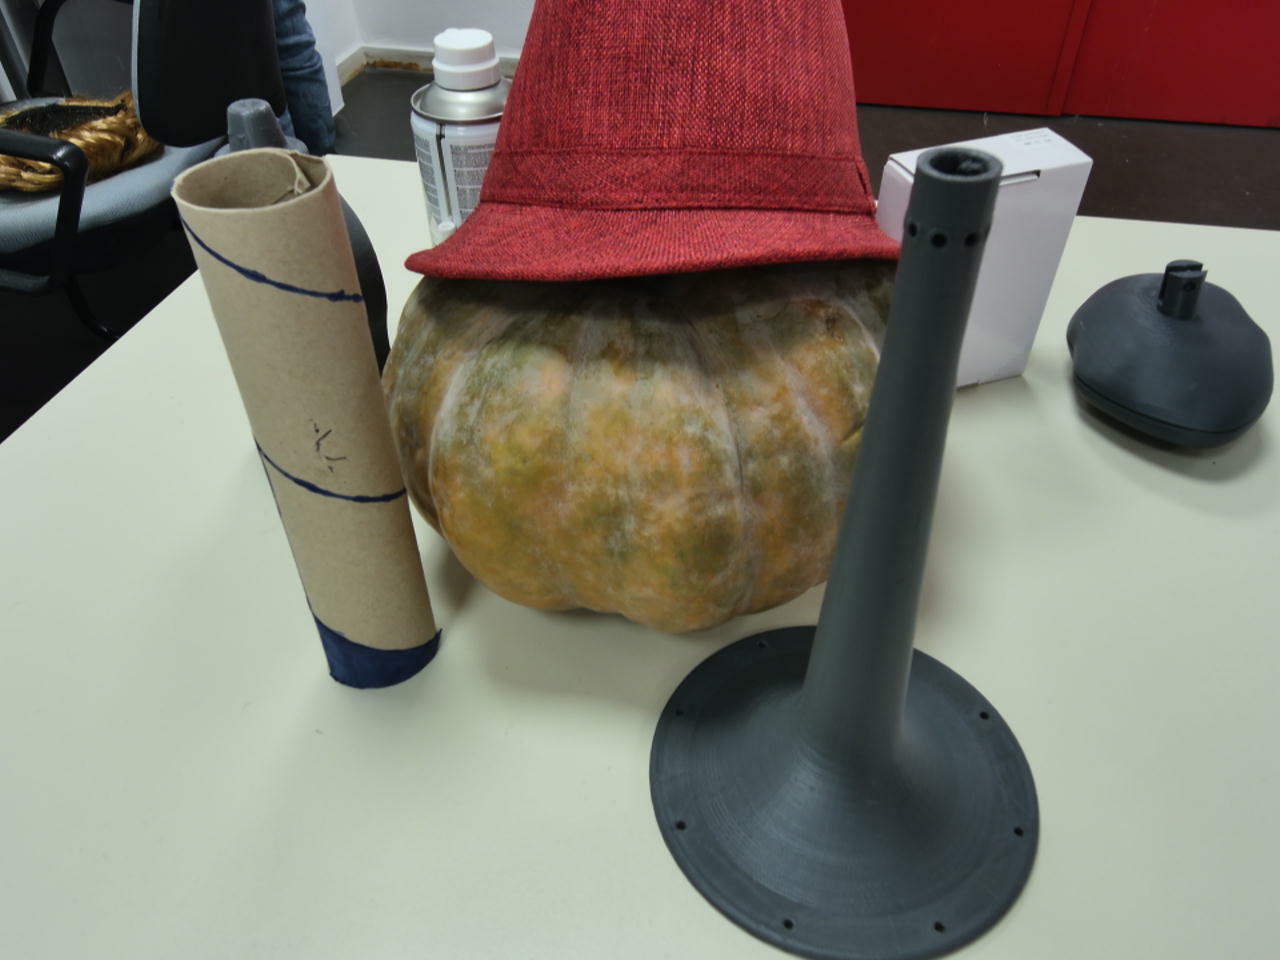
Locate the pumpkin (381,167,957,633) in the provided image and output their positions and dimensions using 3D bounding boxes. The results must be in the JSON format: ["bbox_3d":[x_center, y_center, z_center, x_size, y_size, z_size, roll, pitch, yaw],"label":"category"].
[{"bbox_3d":[0.006,-0.043,0.458,0.252,0.169,0.251,0,39,0],"label":"pumpkin"}]
